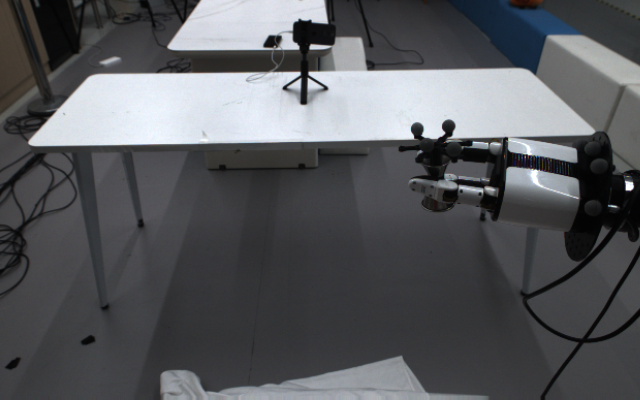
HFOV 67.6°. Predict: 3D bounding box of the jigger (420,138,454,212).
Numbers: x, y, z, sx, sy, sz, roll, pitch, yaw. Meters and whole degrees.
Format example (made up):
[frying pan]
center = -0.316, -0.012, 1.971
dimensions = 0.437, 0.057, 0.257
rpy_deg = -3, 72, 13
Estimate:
[jigger]
center = 0.152, -0.026, 0.634
dimensions = 0.043, 0.071, 0.043
rpy_deg = -9, 31, 5
